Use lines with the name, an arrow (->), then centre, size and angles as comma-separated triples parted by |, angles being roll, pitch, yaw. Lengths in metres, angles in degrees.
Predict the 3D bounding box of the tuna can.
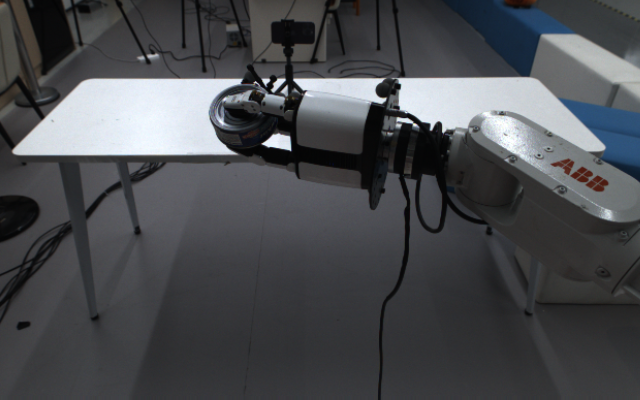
tuna can -> -0.096, -0.105, 0.630 | 0.085, 0.034, 0.085 | -4, 57, 6
